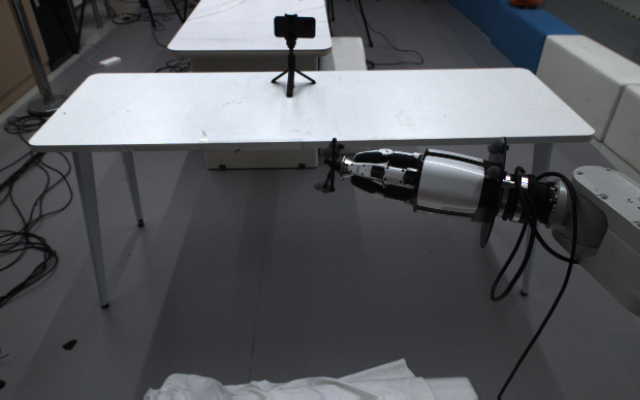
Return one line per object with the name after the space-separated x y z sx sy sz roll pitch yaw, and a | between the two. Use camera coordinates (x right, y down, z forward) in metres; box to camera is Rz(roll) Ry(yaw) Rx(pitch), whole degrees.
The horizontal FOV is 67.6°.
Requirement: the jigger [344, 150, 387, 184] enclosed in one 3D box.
0.074 -0.048 0.730 0.071 0.043 0.043 10 35 16 | jigger
